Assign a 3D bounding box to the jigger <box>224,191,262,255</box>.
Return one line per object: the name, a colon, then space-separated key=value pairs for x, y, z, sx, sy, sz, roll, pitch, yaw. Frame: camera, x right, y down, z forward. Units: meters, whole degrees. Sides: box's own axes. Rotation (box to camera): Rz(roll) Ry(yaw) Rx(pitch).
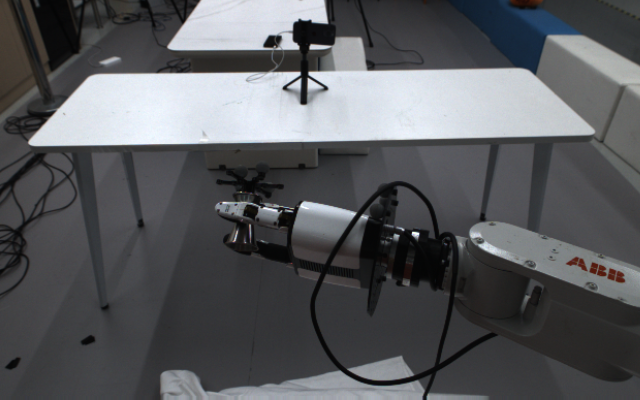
jigger: x=-0.098 y=0.027 z=0.620 sx=0.043 sy=0.043 sz=0.071 roll=5 pitch=71 yaw=4
